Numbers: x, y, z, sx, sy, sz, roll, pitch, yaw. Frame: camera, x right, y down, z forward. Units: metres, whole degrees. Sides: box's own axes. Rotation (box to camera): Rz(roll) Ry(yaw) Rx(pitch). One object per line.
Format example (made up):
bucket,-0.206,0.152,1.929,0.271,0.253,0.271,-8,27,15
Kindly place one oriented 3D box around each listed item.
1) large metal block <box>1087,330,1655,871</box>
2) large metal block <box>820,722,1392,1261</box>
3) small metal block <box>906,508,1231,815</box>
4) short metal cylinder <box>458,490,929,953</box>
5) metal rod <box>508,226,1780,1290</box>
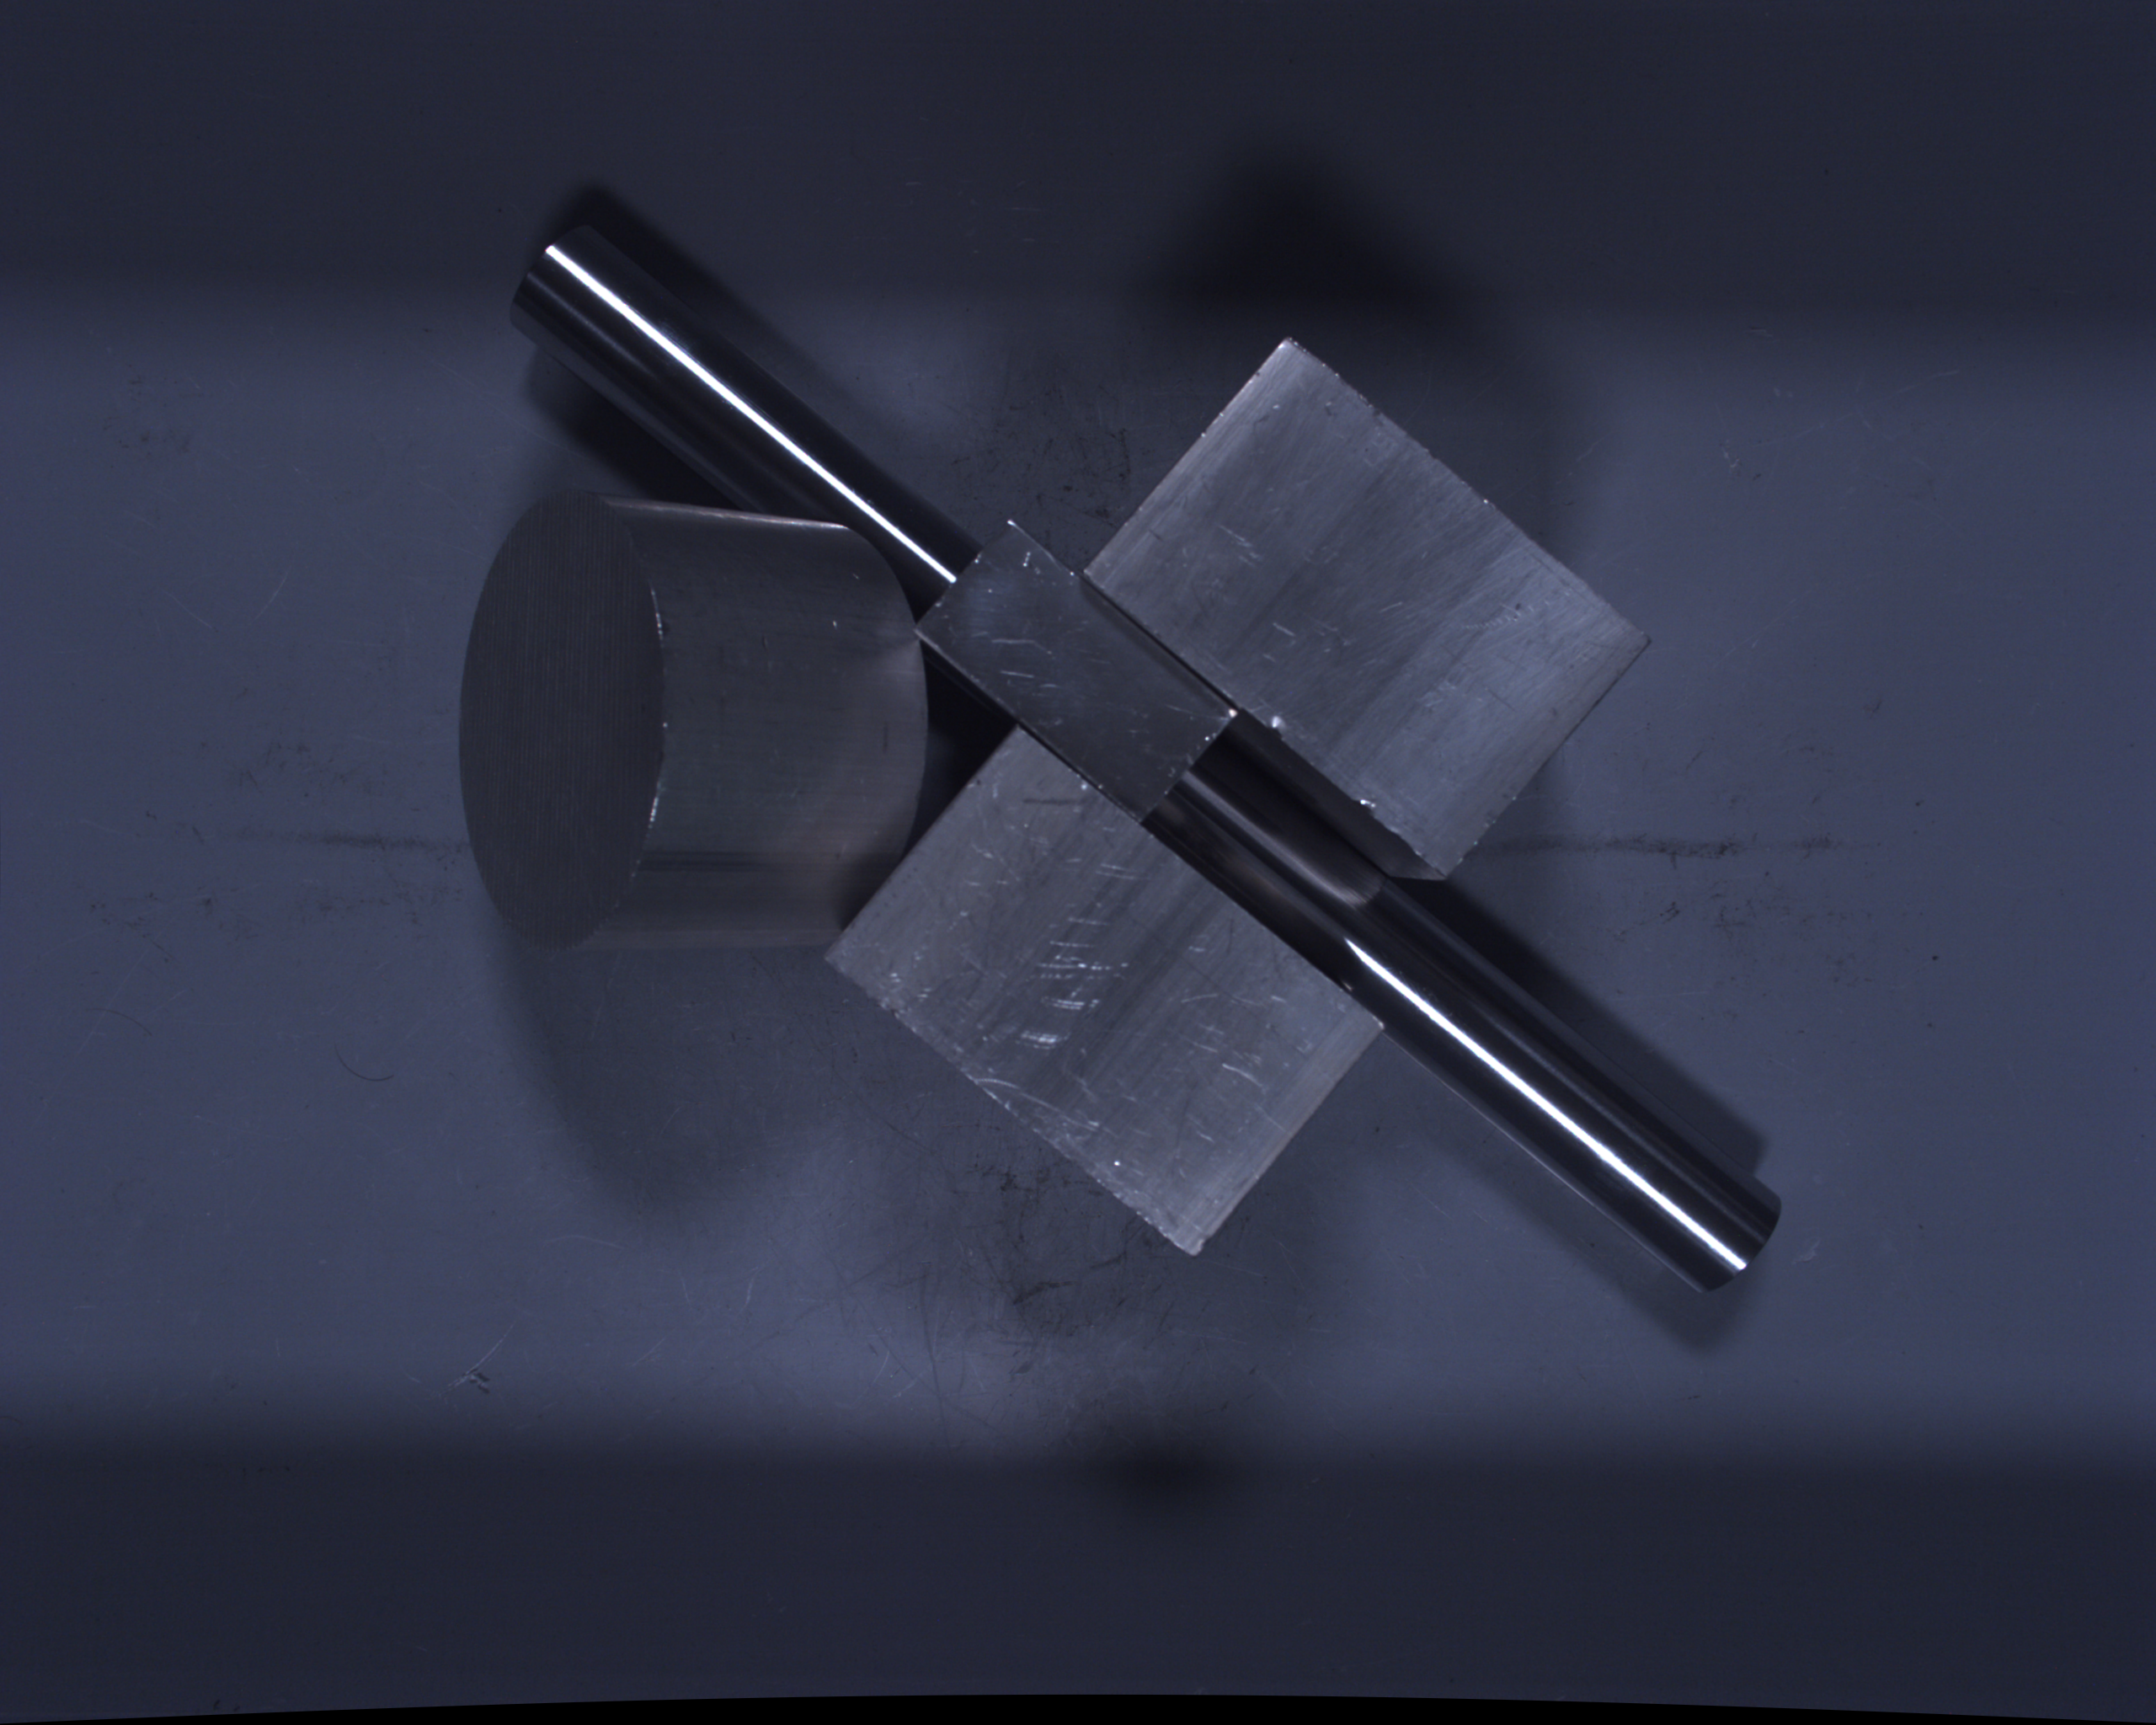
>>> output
large metal block,0.048,-0.044,0.384,0.080,0.080,0.050,40,90,-1
large metal block,0.004,0.021,0.383,0.080,0.080,0.050,39,90,-1
small metal block,-0.002,-0.034,0.374,0.050,0.050,0.025,41,90,-1
short metal cylinder,-0.071,-0.024,0.376,0.050,0.080,0.079,1,90,-40
metal rod,0.013,-0.020,0.411,0.300,0.025,0.025,39,90,-1
